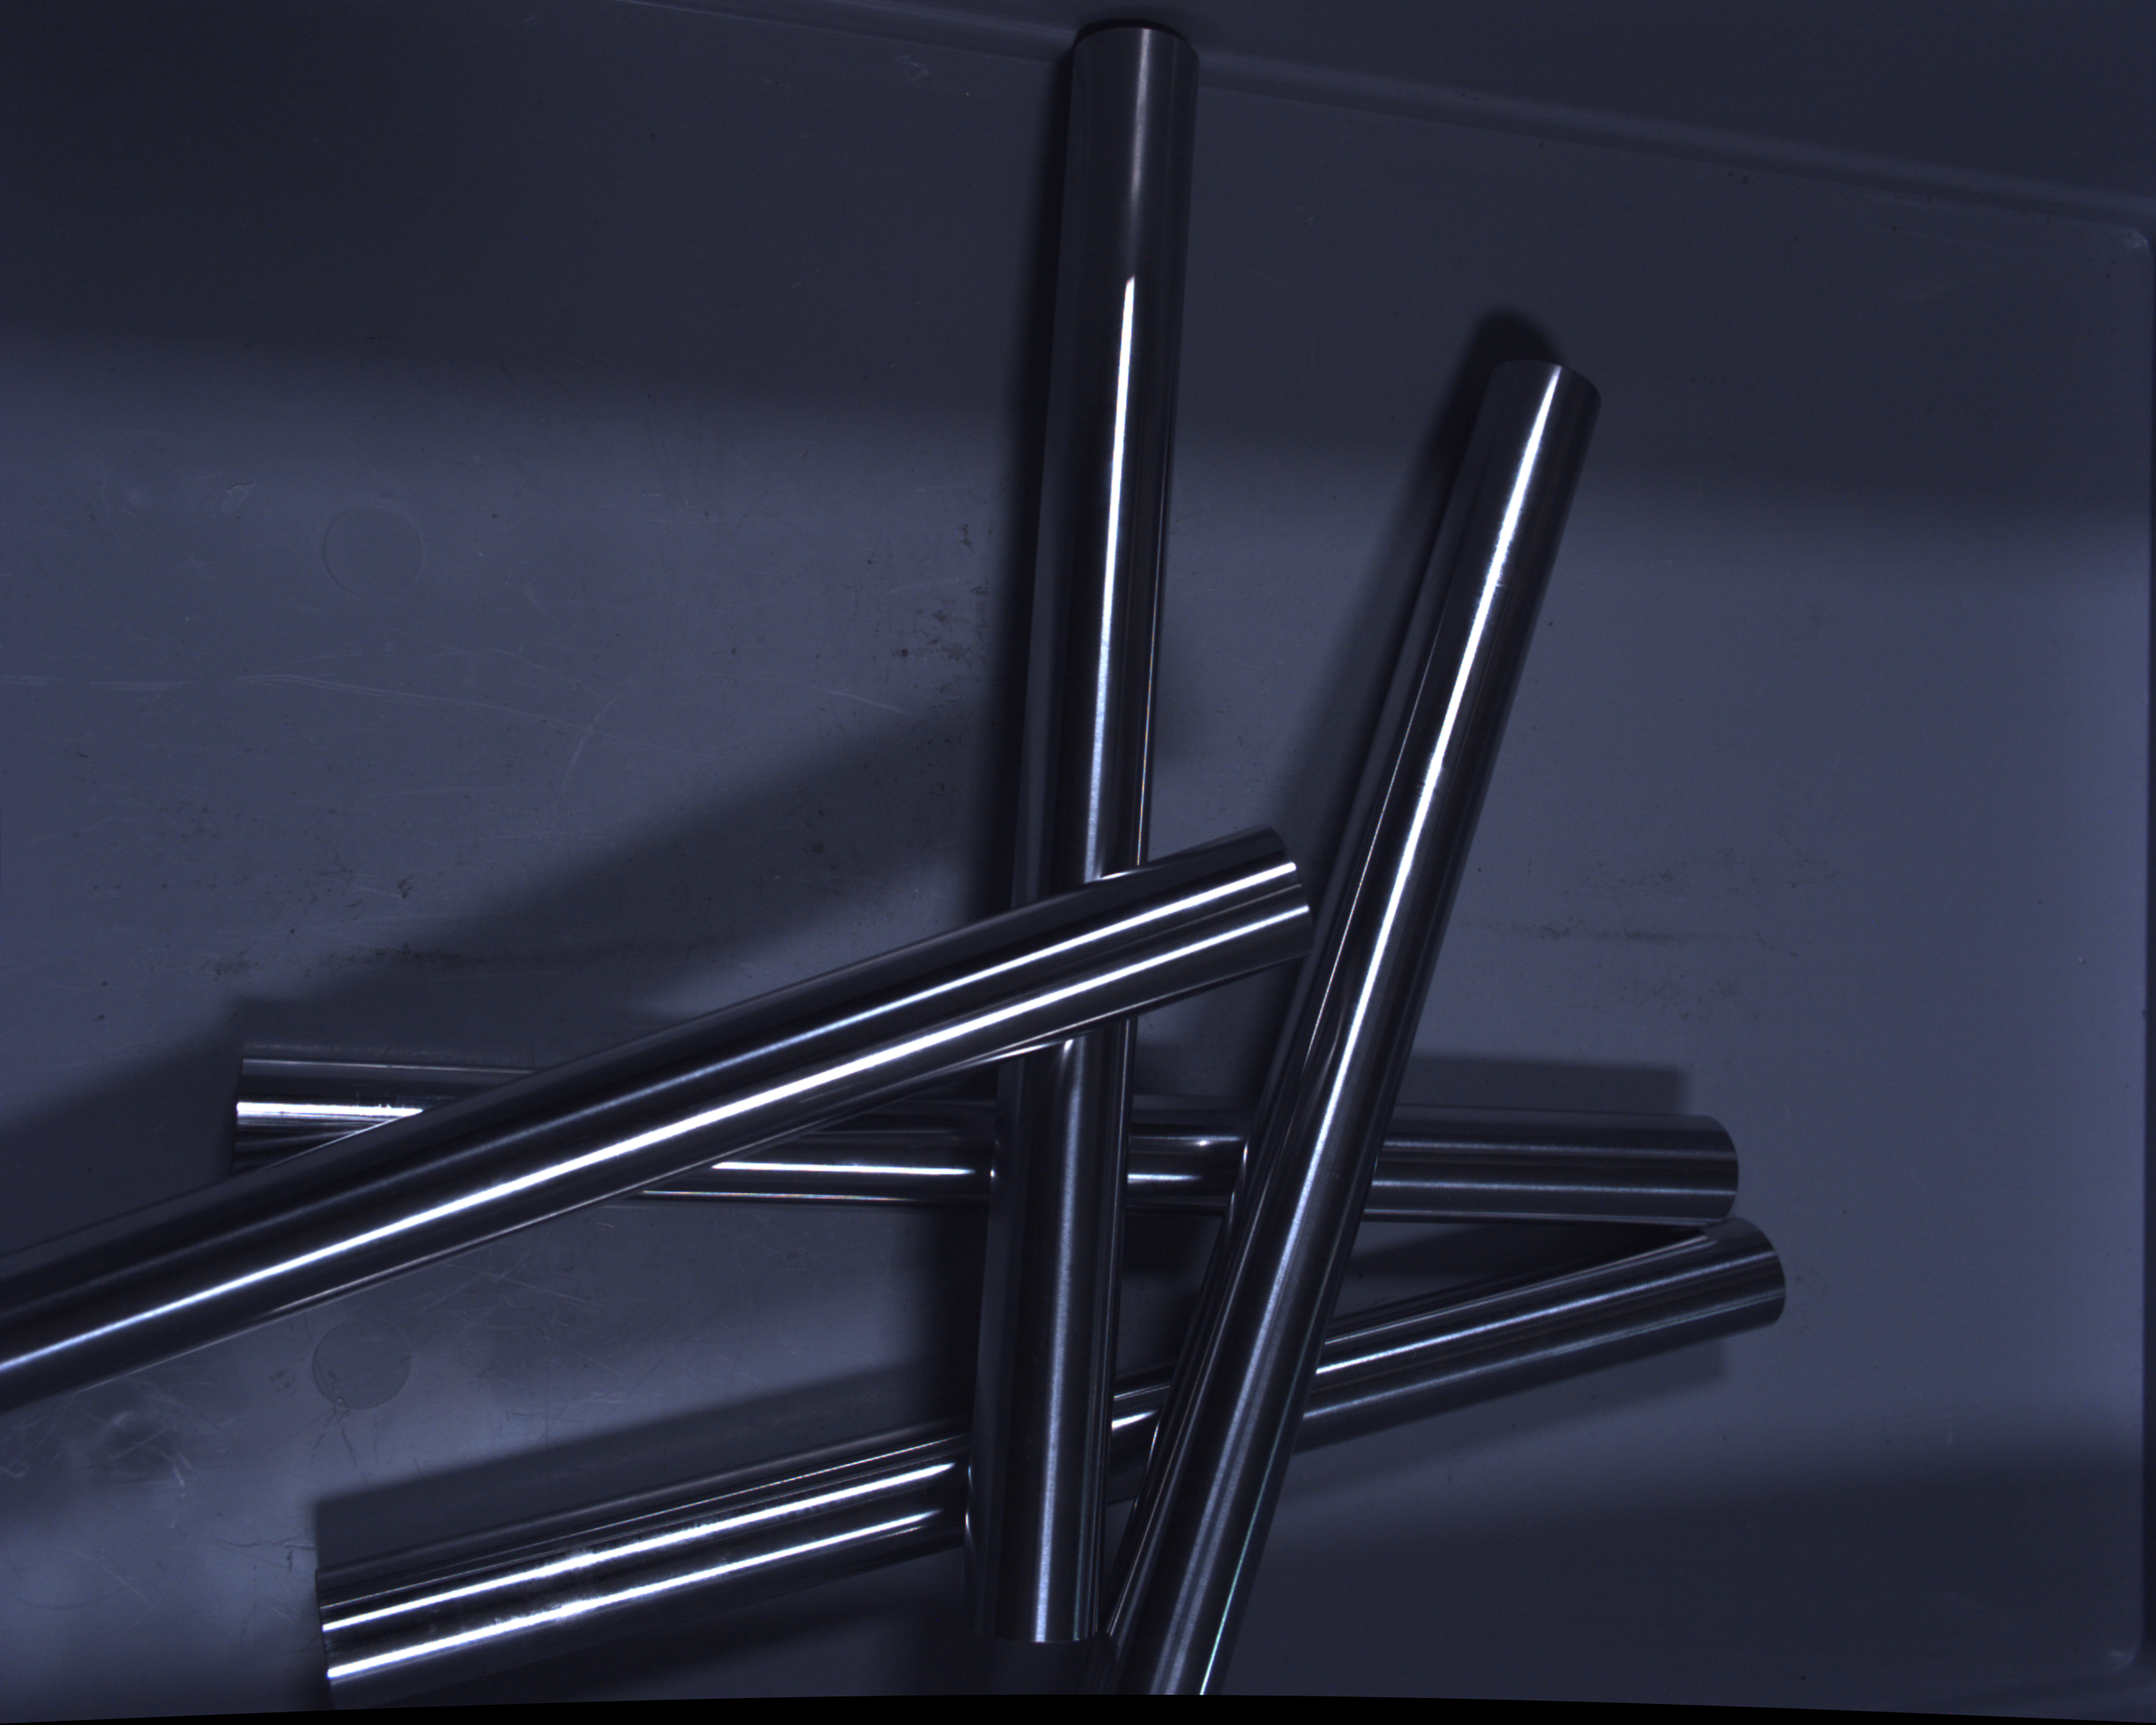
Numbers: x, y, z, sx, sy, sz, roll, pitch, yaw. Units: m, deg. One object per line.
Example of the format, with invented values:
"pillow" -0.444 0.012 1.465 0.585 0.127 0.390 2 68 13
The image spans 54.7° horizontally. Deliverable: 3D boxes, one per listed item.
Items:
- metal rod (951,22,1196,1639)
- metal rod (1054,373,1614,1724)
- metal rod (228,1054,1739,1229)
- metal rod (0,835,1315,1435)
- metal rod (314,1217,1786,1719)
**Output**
"metal rod" 0.000 -0.012 0.392 0.025 0.025 0.298 7 81 -20
"metal rod" 0.053 0.037 0.409 0.025 0.025 0.299 26 73 -19
"metal rod" -0.003 0.057 0.409 0.302 0.025 0.025 5 89 -20
"metal rod" -0.101 0.054 0.345 0.302 0.025 0.025 -19 97 -14
"metal rod" 0.010 0.114 0.414 0.303 0.025 0.025 -9 93 -20
